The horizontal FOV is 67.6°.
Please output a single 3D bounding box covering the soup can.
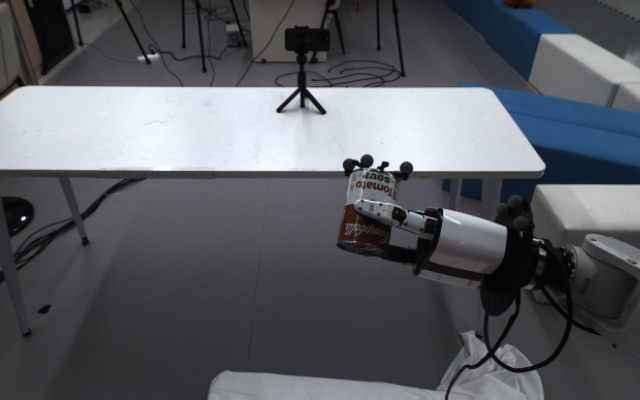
[{"bbox_3d":[0.065,0.015,0.635,0.067,0.067,0.101,9,74,9],"label":"soup can"}]
